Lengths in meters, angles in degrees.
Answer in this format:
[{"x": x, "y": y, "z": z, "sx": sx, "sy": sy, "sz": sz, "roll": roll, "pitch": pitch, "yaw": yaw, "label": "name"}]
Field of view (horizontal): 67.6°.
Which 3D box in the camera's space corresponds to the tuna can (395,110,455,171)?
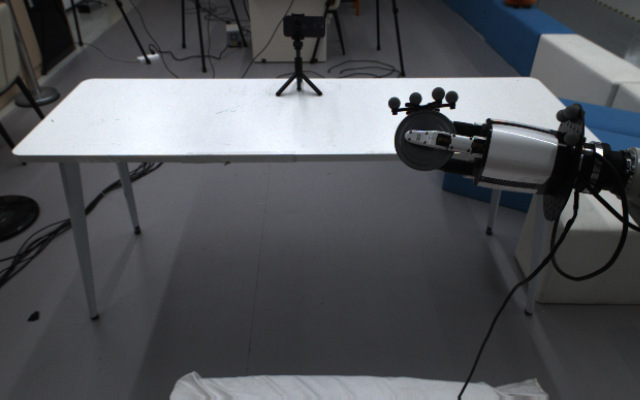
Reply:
[{"x": 0.150, "y": -0.084, "z": 0.689, "sx": 0.085, "sy": 0.085, "sz": 0.034, "roll": 10, "pitch": 3, "yaw": 11, "label": "tuna can"}]
